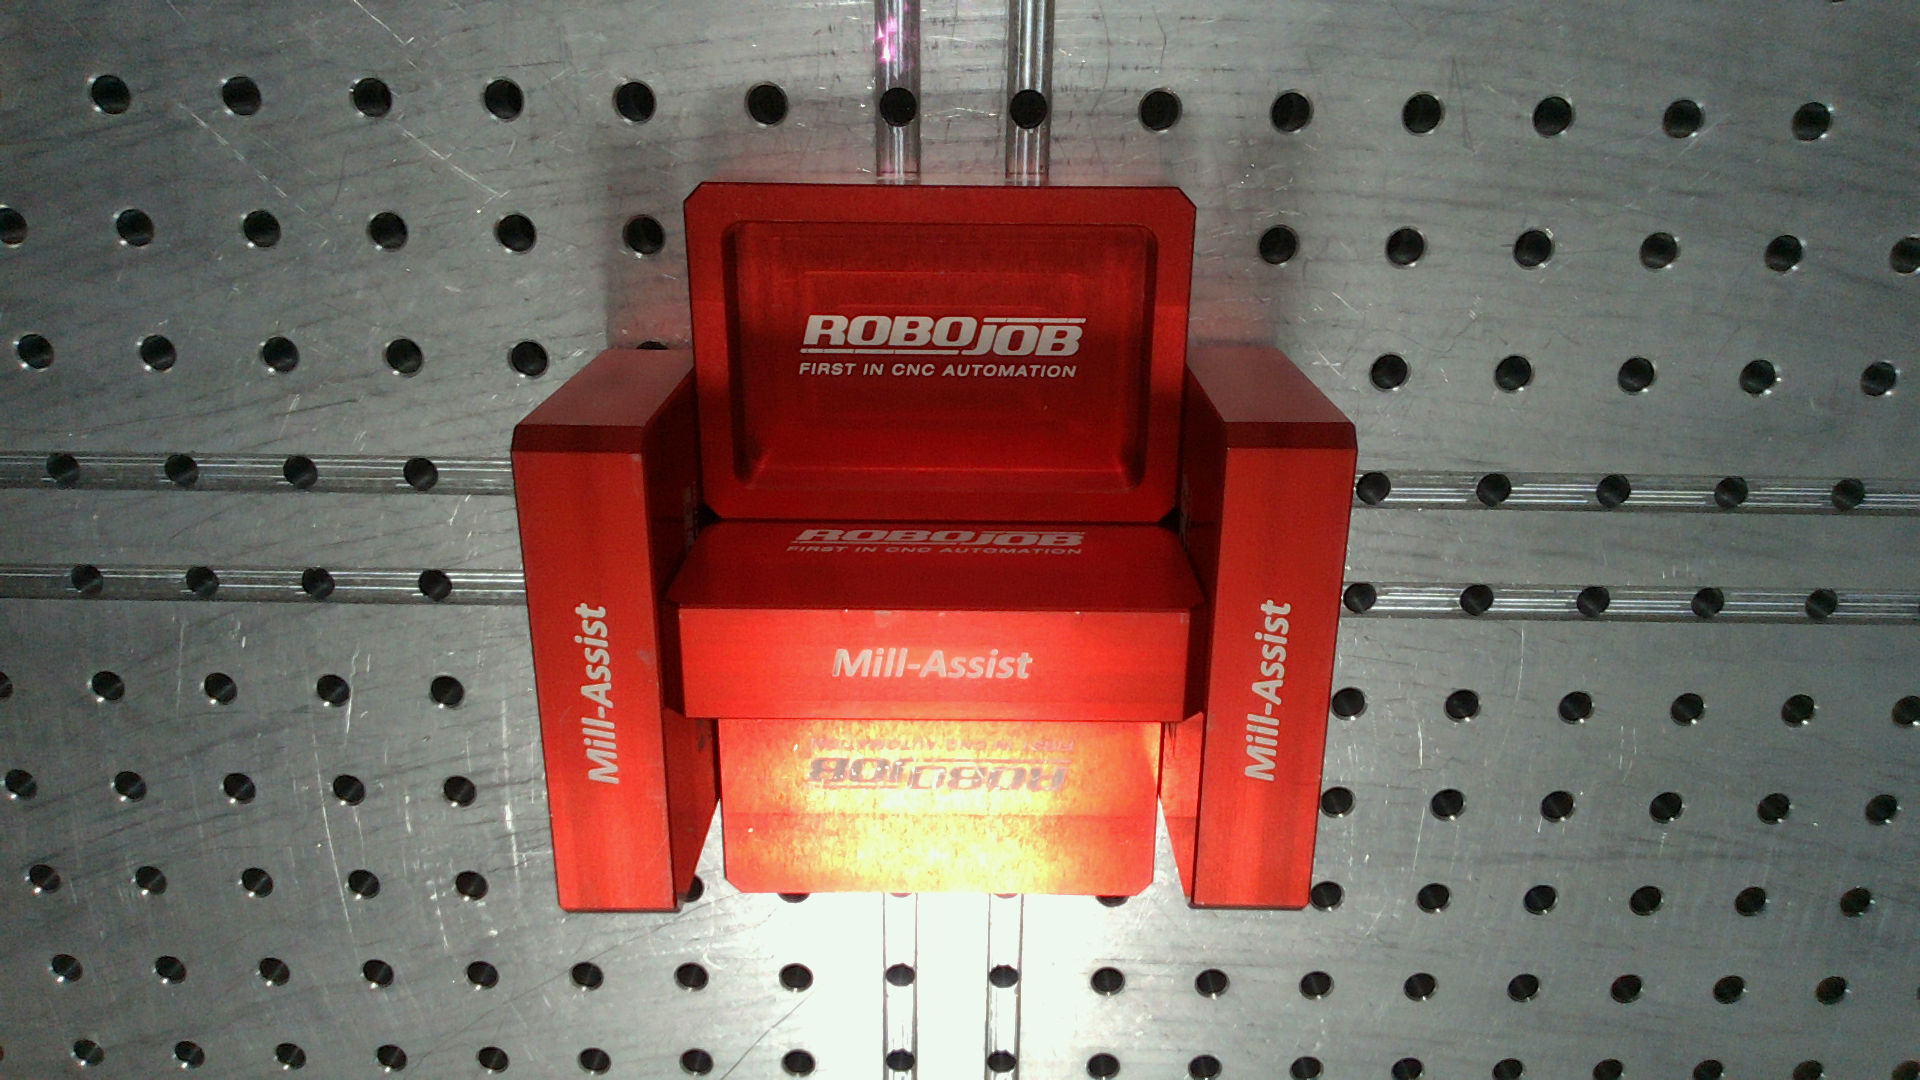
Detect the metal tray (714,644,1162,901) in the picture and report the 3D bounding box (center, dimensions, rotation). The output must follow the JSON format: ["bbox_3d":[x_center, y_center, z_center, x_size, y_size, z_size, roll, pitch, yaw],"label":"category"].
[{"bbox_3d":[-0.006,0.062,0.415,0.130,0.030,0.090,0,110,0],"label":"metal tray"}]

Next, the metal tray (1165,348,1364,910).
[{"bbox_3d":[0.075,0.021,0.369,0.030,0.090,0.130,1,110,0],"label":"metal tray"}]

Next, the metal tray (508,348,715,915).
[{"bbox_3d":[-0.086,0.021,0.369,0.030,0.090,0.130,1,110,0],"label":"metal tray"}]

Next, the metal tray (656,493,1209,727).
[{"bbox_3d":[-0.006,0.015,0.365,0.130,0.090,0.030,1,110,0],"label":"metal tray"}]

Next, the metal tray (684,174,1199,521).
[{"bbox_3d":[-0.005,-0.053,0.374,0.130,0.030,0.090,0,110,0],"label":"metal tray"}]
